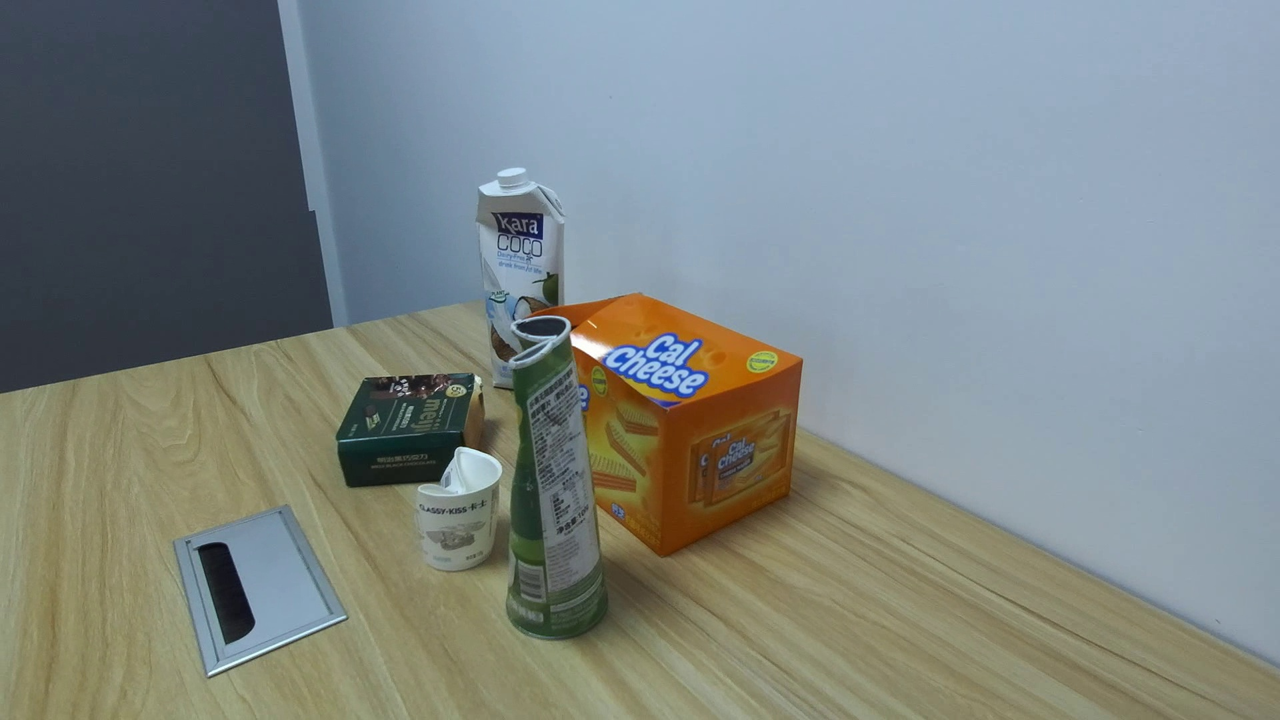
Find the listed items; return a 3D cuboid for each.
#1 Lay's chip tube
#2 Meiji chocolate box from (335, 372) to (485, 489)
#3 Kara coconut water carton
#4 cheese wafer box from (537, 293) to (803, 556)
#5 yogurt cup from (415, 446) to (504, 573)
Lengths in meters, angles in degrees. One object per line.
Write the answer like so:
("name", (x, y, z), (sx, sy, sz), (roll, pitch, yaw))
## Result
("Lay's chip tube", (-0.055, 0.075, 0.440), (0.069, 0.201, 0.077), (-15, 25, -31))
("Meiji chocolate box", (-0.209, 0.064, 0.653), (0.123, 0.058, 0.115), (-2, 27, -7))
("Kara coconut water carton", (-0.124, -0.083, 0.754), (0.115, 0.238, 0.069), (9, 26, 19))
("cheese wafer box", (0.005, 0.039, 0.616), (0.153, 0.132, 0.229), (-17, 30, -33))
("yogurt cup", (-0.132, 0.111, 0.519), (0.067, 0.070, 0.067), (0, 22, 0))
